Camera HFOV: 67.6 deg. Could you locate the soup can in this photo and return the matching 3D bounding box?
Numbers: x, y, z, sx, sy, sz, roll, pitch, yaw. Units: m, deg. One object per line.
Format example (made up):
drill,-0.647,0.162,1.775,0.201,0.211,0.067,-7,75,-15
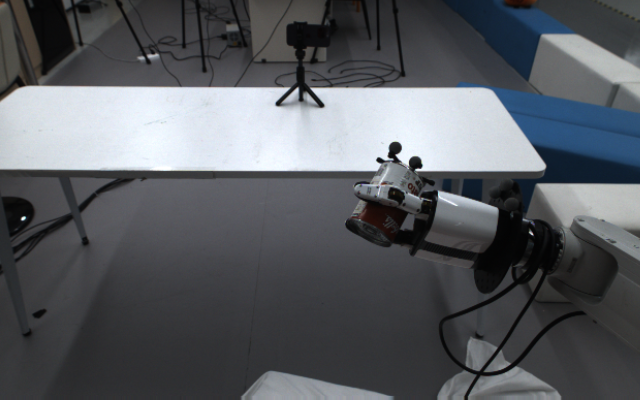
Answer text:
soup can,0.092,0.004,0.664,0.067,0.067,0.101,22,71,27
